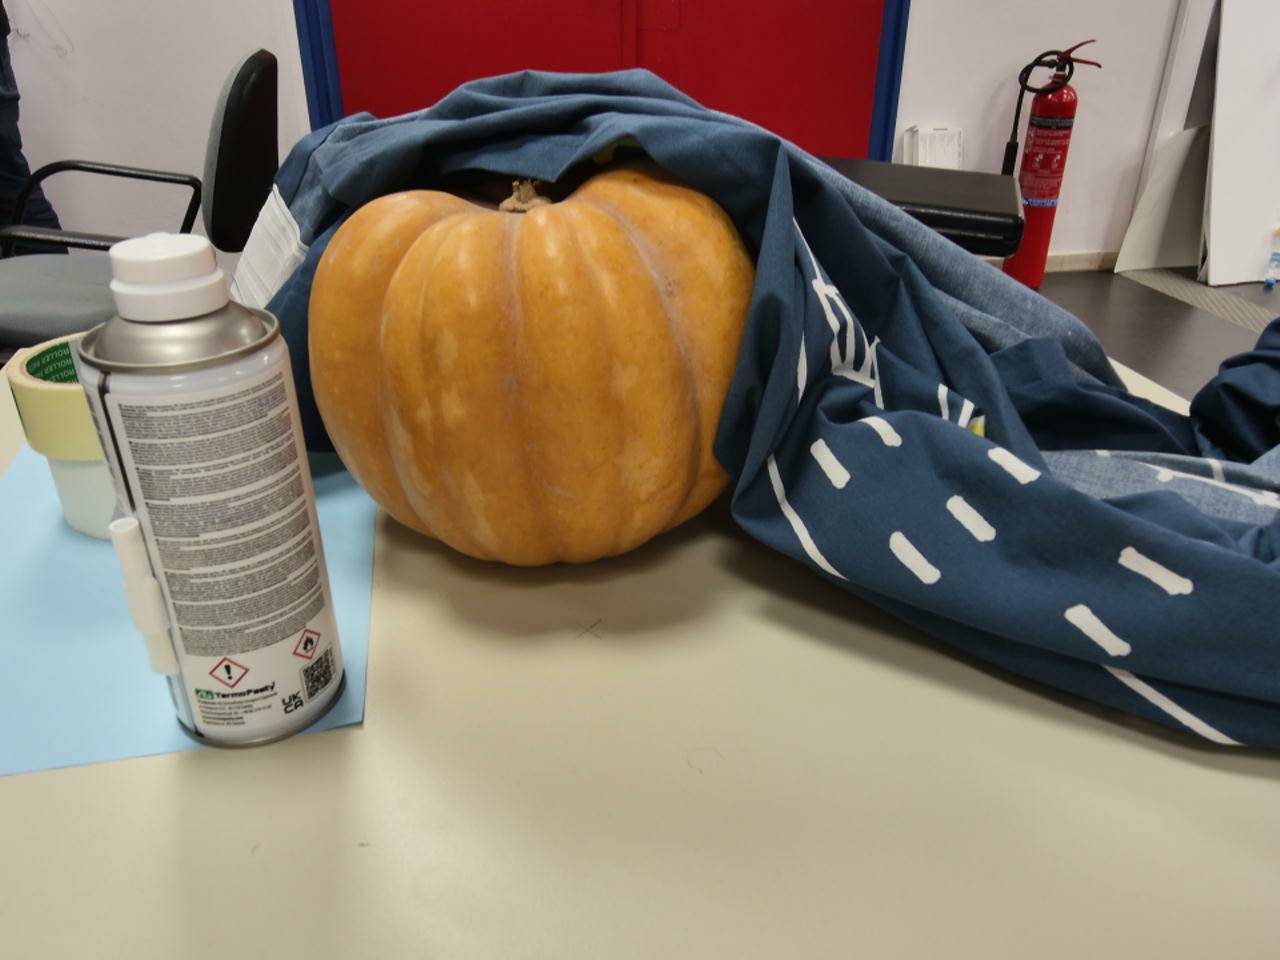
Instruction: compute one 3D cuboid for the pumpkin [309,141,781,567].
[{"bbox_3d":[-0.041,-0.063,0.496,0.230,0.194,0.230,0,26,0],"label":"pumpkin"}]
